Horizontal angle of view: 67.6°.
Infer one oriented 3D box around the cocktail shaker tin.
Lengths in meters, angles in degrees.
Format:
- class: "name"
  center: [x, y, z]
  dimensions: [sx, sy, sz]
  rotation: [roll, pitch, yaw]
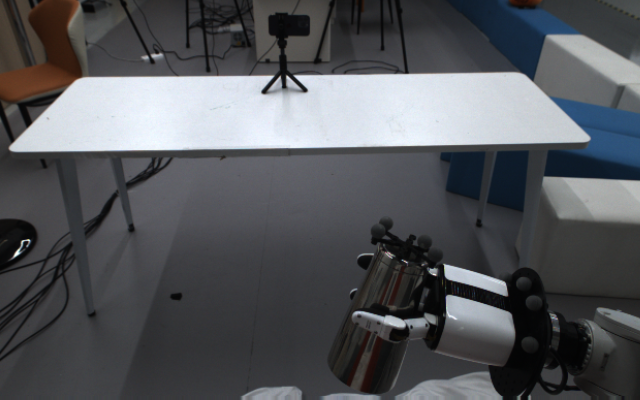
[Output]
- class: "cocktail shaker tin"
  center: [0.077, 0.139, 0.599]
  dimensions: [0.093, 0.170, 0.093]
  rotation: [15, 17, -5]
